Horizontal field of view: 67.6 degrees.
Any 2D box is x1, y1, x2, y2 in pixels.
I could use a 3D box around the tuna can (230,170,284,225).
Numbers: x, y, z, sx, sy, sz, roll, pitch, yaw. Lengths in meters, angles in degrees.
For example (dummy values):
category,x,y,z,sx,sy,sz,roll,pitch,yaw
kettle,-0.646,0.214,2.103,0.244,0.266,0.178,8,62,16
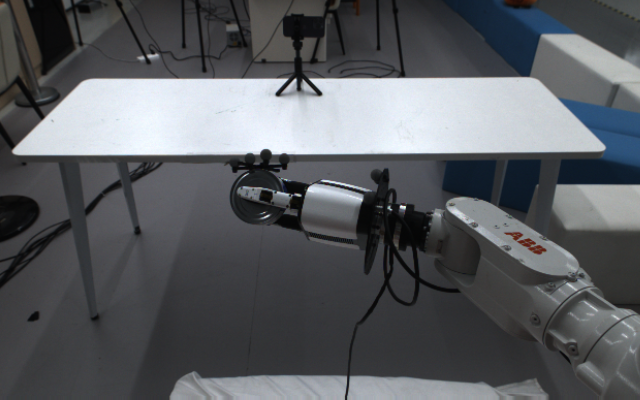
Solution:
category,x,y,z,sx,sy,sz,roll,pitch,yaw
tuna can,-0.088,-0.003,0.746,0.085,0.085,0.034,10,-6,11
